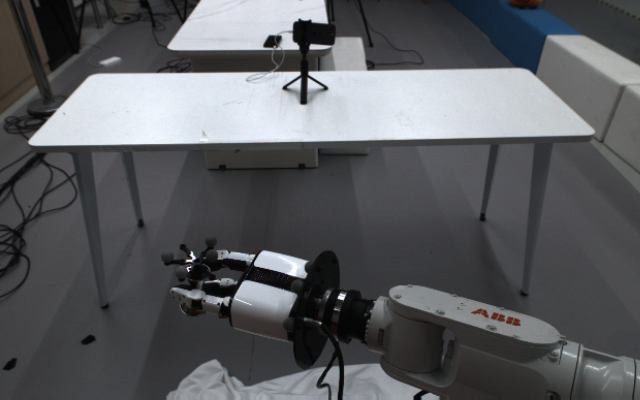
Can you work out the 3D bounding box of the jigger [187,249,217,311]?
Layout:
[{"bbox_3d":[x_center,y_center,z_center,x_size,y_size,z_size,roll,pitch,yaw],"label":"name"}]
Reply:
[{"bbox_3d":[-0.182,0.131,0.709,0.043,0.071,0.043,9,30,-5],"label":"jigger"}]
